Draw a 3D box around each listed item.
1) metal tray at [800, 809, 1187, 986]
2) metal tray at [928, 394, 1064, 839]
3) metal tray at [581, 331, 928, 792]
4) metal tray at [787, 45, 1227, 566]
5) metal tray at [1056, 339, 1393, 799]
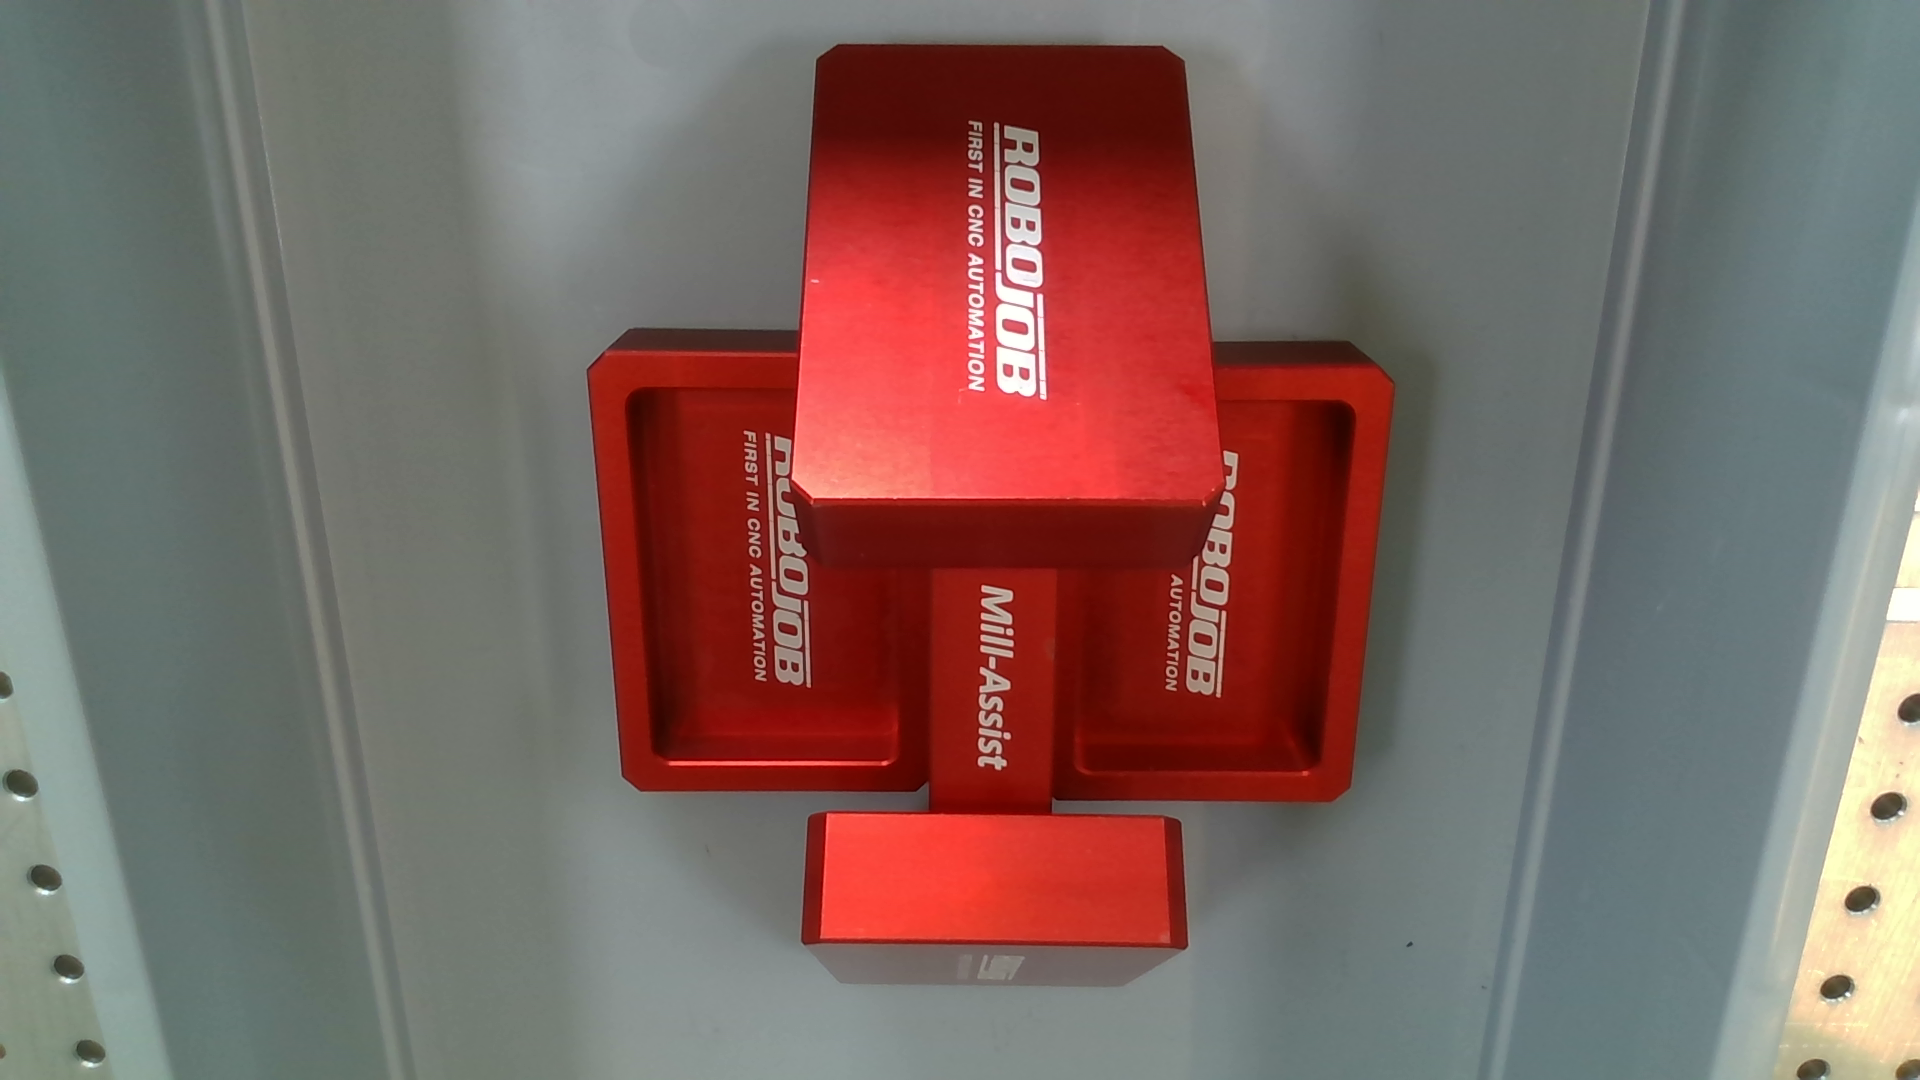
[{"bbox_3d":[0.007,0.103,0.381,0.090,0.130,0.030,1,68,-1],"label":"metal tray"},{"bbox_3d":[0.008,0.016,0.364,0.030,0.090,0.130,0,111,0],"label":"metal tray"},{"bbox_3d":[-0.053,0.008,0.391,0.090,0.030,0.130,0,111,0],"label":"metal tray"},{"bbox_3d":[0.010,-0.058,0.322,0.090,0.130,0.030,0,152,0],"label":"metal tray"},{"bbox_3d":[0.068,0.010,0.393,0.090,0.030,0.130,0,111,1],"label":"metal tray"}]
